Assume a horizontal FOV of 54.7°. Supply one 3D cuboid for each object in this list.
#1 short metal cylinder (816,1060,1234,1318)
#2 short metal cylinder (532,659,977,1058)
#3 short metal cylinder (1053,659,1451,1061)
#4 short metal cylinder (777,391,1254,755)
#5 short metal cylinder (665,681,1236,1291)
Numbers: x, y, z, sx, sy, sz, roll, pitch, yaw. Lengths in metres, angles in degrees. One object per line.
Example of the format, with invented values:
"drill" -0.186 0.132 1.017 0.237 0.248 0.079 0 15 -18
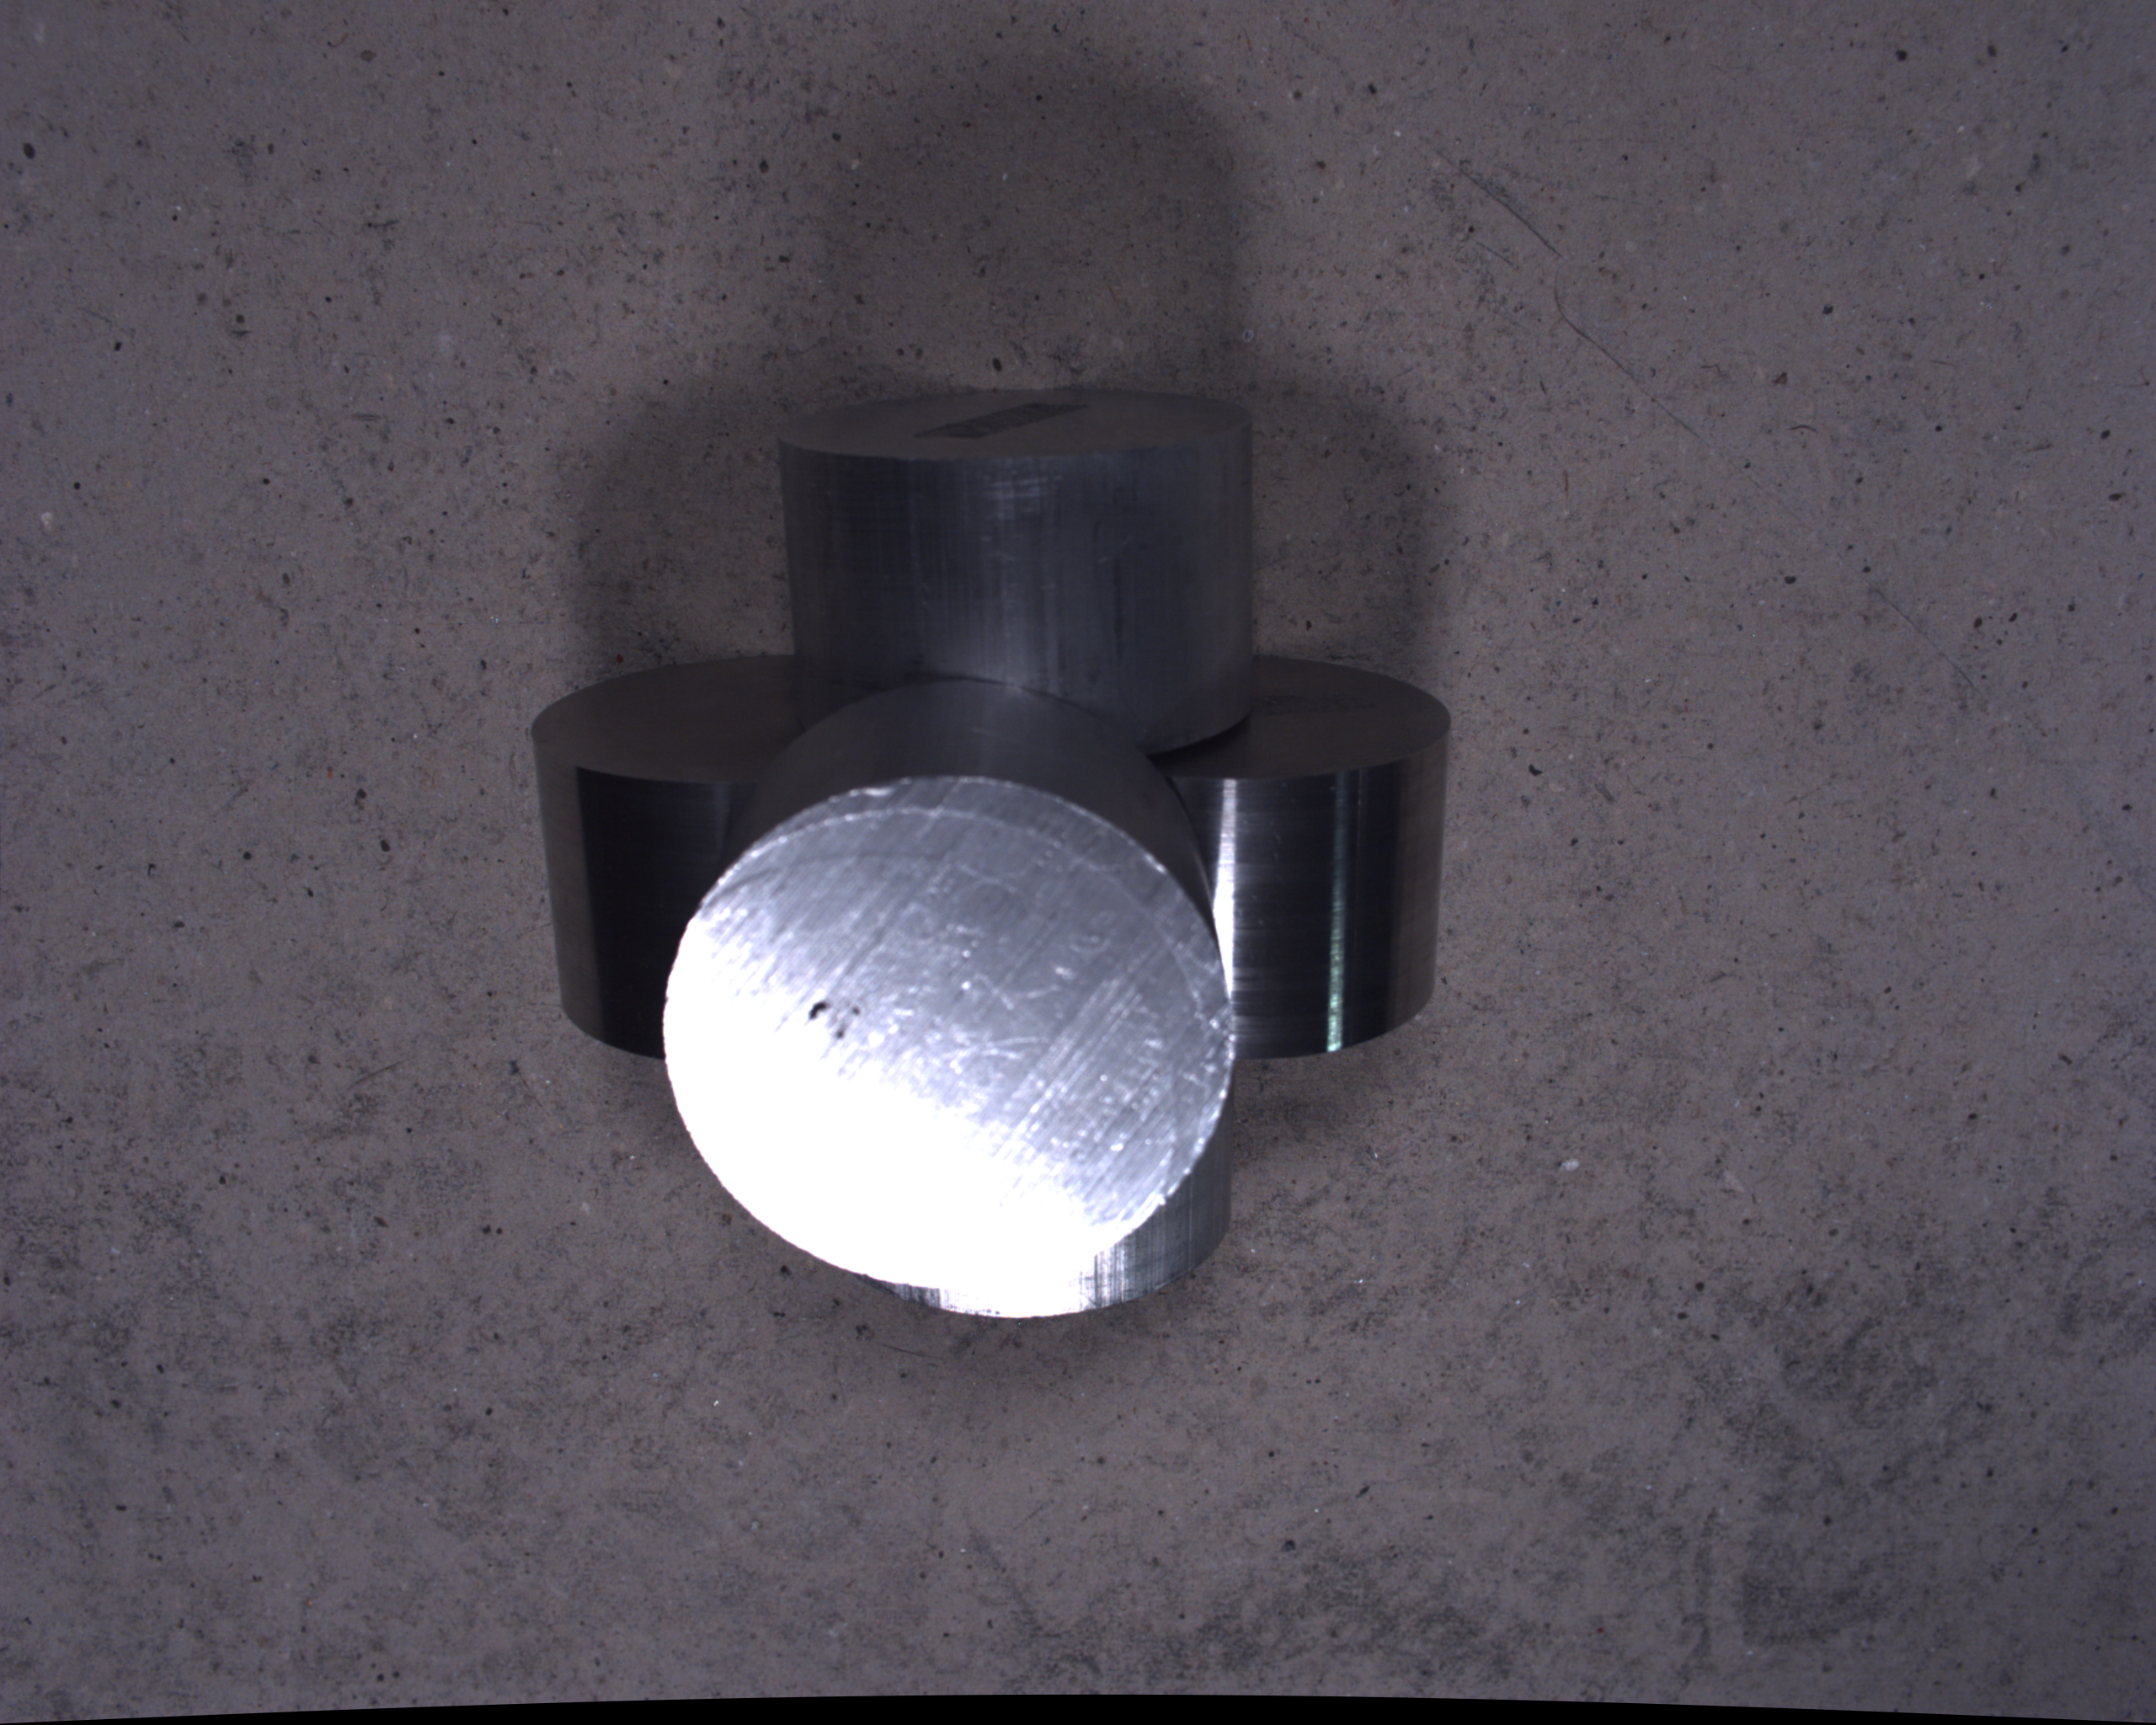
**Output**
"short metal cylinder" -0.010 0.043 0.397 0.081 0.080 0.050 0 110 -1
"short metal cylinder" -0.055 -0.003 0.380 0.081 0.080 0.050 -1 110 0
"short metal cylinder" 0.026 -0.004 0.381 0.081 0.080 0.050 0 110 0
"short metal cylinder" -0.010 -0.052 0.362 0.081 0.080 0.050 -2 110 0
"short metal cylinder" -0.018 0.017 0.318 0.081 0.050 0.079 0 110 -1
